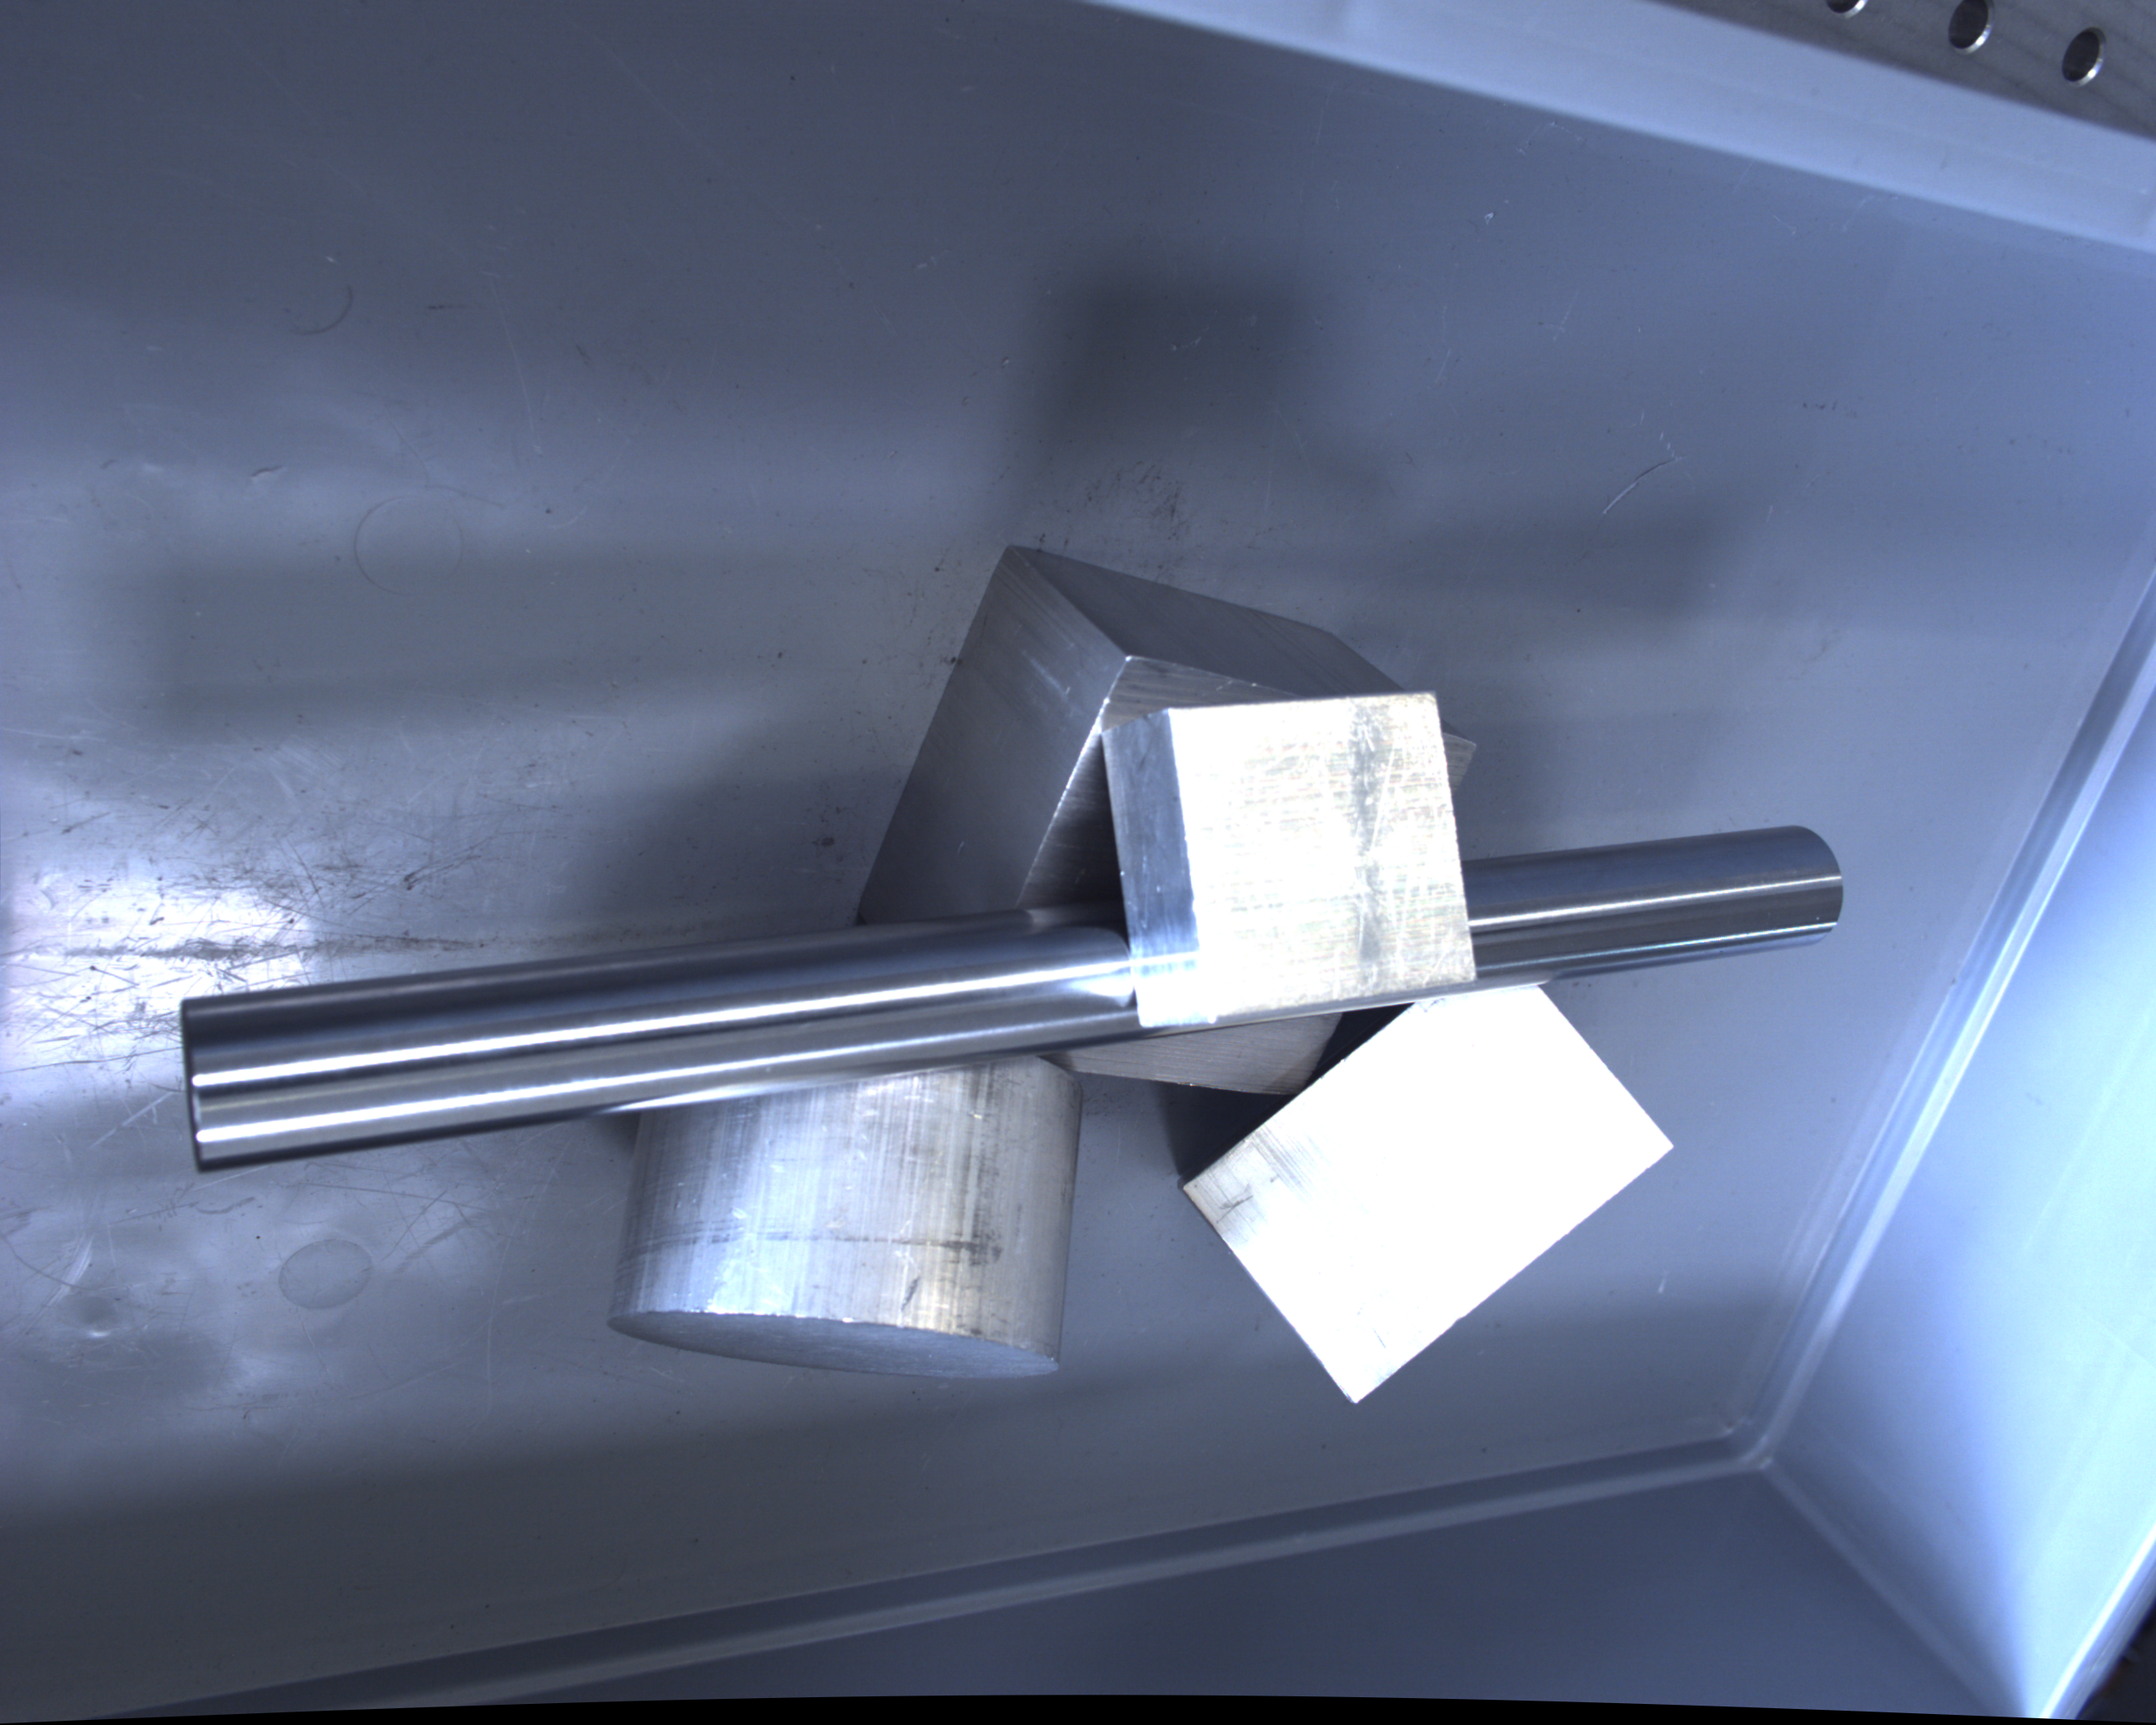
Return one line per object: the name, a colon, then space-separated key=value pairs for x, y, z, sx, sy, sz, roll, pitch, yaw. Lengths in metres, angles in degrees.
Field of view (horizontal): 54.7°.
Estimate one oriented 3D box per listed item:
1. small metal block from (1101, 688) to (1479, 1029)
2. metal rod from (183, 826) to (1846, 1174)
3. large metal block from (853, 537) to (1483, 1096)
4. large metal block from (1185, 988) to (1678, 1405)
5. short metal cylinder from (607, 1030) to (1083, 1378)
small metal block: x=0.035 y=-0.001 z=0.345 sx=0.050 sy=0.025 sz=0.050 roll=-6 pitch=86 yaw=-25
metal rod: x=0.011 y=0.018 z=0.359 sx=0.303 sy=0.025 sz=0.025 roll=-6 pitch=121 yaw=-26
large metal block: x=0.016 y=-0.007 z=0.395 sx=0.081 sy=0.050 sz=0.079 roll=11 pitch=113 yaw=-33
large metal block: x=0.070 y=0.064 z=0.440 sx=0.080 sy=0.050 sz=0.080 roll=-38 pitch=173 yaw=-2
short metal cylinder: x=-0.041 y=0.064 z=0.380 sx=0.080 sy=0.080 sz=0.050 roll=21 pitch=64 yaw=-36
